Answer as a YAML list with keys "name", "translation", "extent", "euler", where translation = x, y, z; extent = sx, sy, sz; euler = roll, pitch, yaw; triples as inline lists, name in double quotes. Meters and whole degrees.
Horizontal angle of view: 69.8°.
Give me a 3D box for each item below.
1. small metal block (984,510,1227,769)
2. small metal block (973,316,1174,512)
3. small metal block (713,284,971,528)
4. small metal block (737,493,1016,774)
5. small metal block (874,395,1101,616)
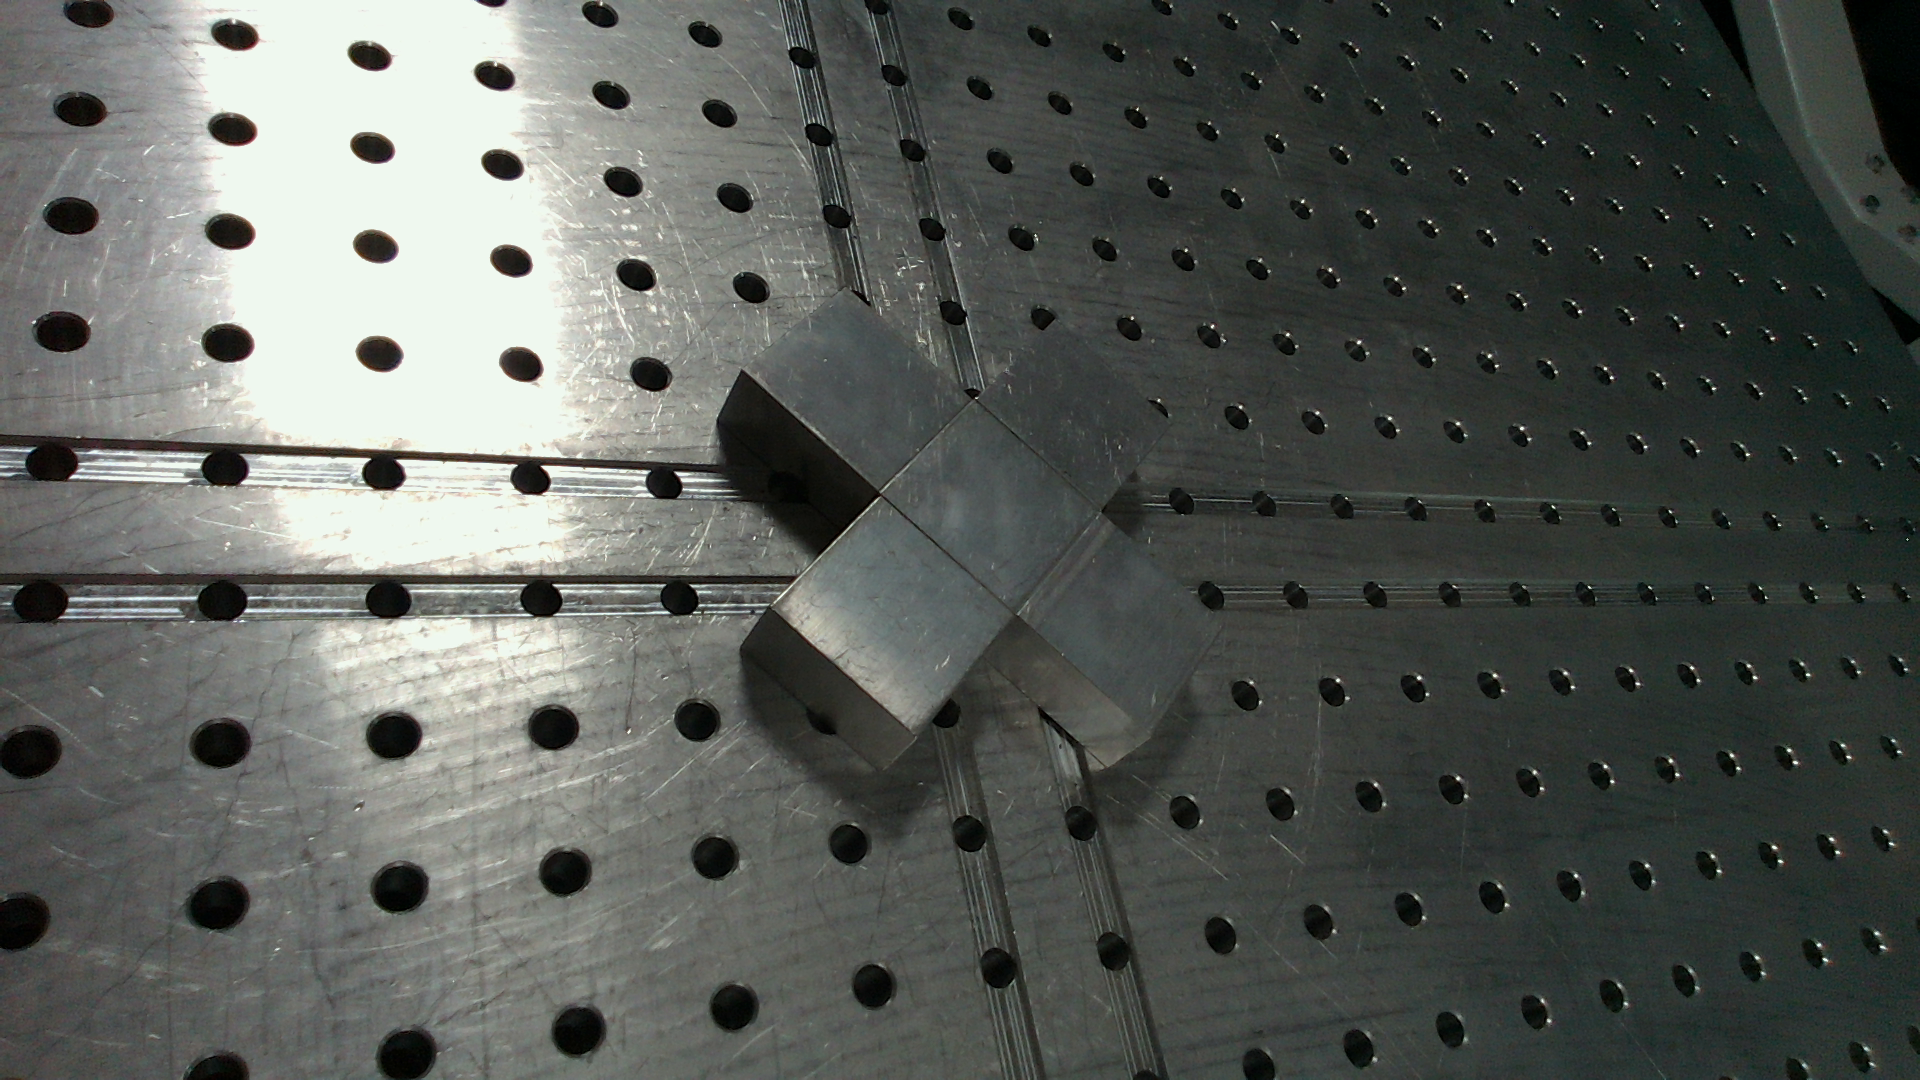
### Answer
- name: "small metal block"
  translation: [0.042, 0.028, 0.398]
  extent: [0.050, 0.025, 0.050]
  euler: [42, 51, 0]
- name: "small metal block"
  translation: [0.031, -0.034, 0.429]
  extent: [0.050, 0.025, 0.050]
  euler: [41, 51, 0]
- name: "small metal block"
  translation: [-0.034, -0.038, 0.398]
  extent: [0.050, 0.025, 0.050]
  euler: [42, 51, 0]
- name: "small metal block"
  translation: [-0.022, 0.024, 0.366]
  extent: [0.050, 0.025, 0.050]
  euler: [41, 51, 0]
- name: "small metal block"
  translation: [0.005, -0.006, 0.397]
  extent: [0.050, 0.025, 0.050]
  euler: [41, 51, 0]
